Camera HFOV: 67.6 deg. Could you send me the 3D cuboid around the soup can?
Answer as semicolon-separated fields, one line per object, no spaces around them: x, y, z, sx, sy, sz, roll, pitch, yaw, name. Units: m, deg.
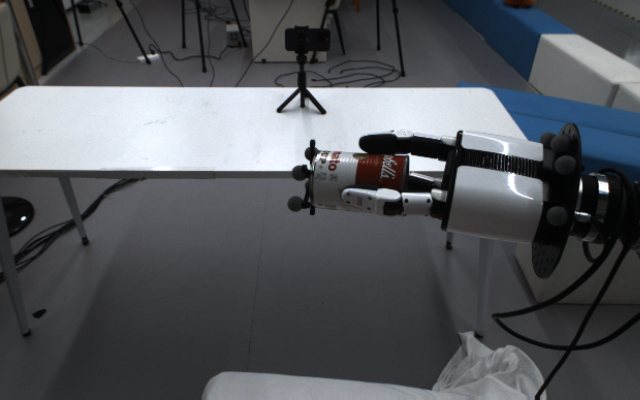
0.048;-0.021;0.542;0.101;0.067;0.067;5;34;13;soup can
